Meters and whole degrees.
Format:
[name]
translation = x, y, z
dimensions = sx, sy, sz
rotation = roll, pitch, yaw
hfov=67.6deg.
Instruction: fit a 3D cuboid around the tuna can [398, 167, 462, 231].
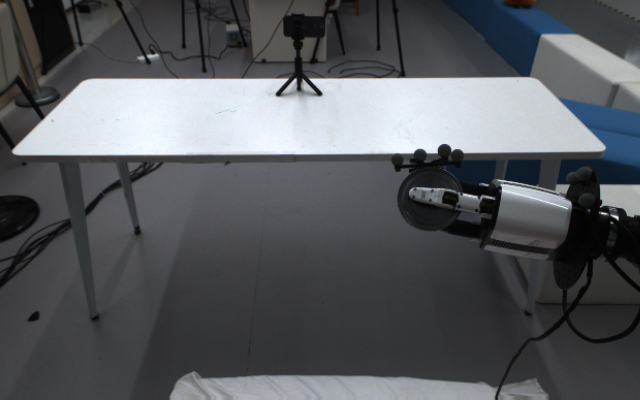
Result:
[tuna can]
translation = 0.149, -0.001, 0.653
dimensions = 0.085, 0.085, 0.034
rotation = 10, -6, 11
